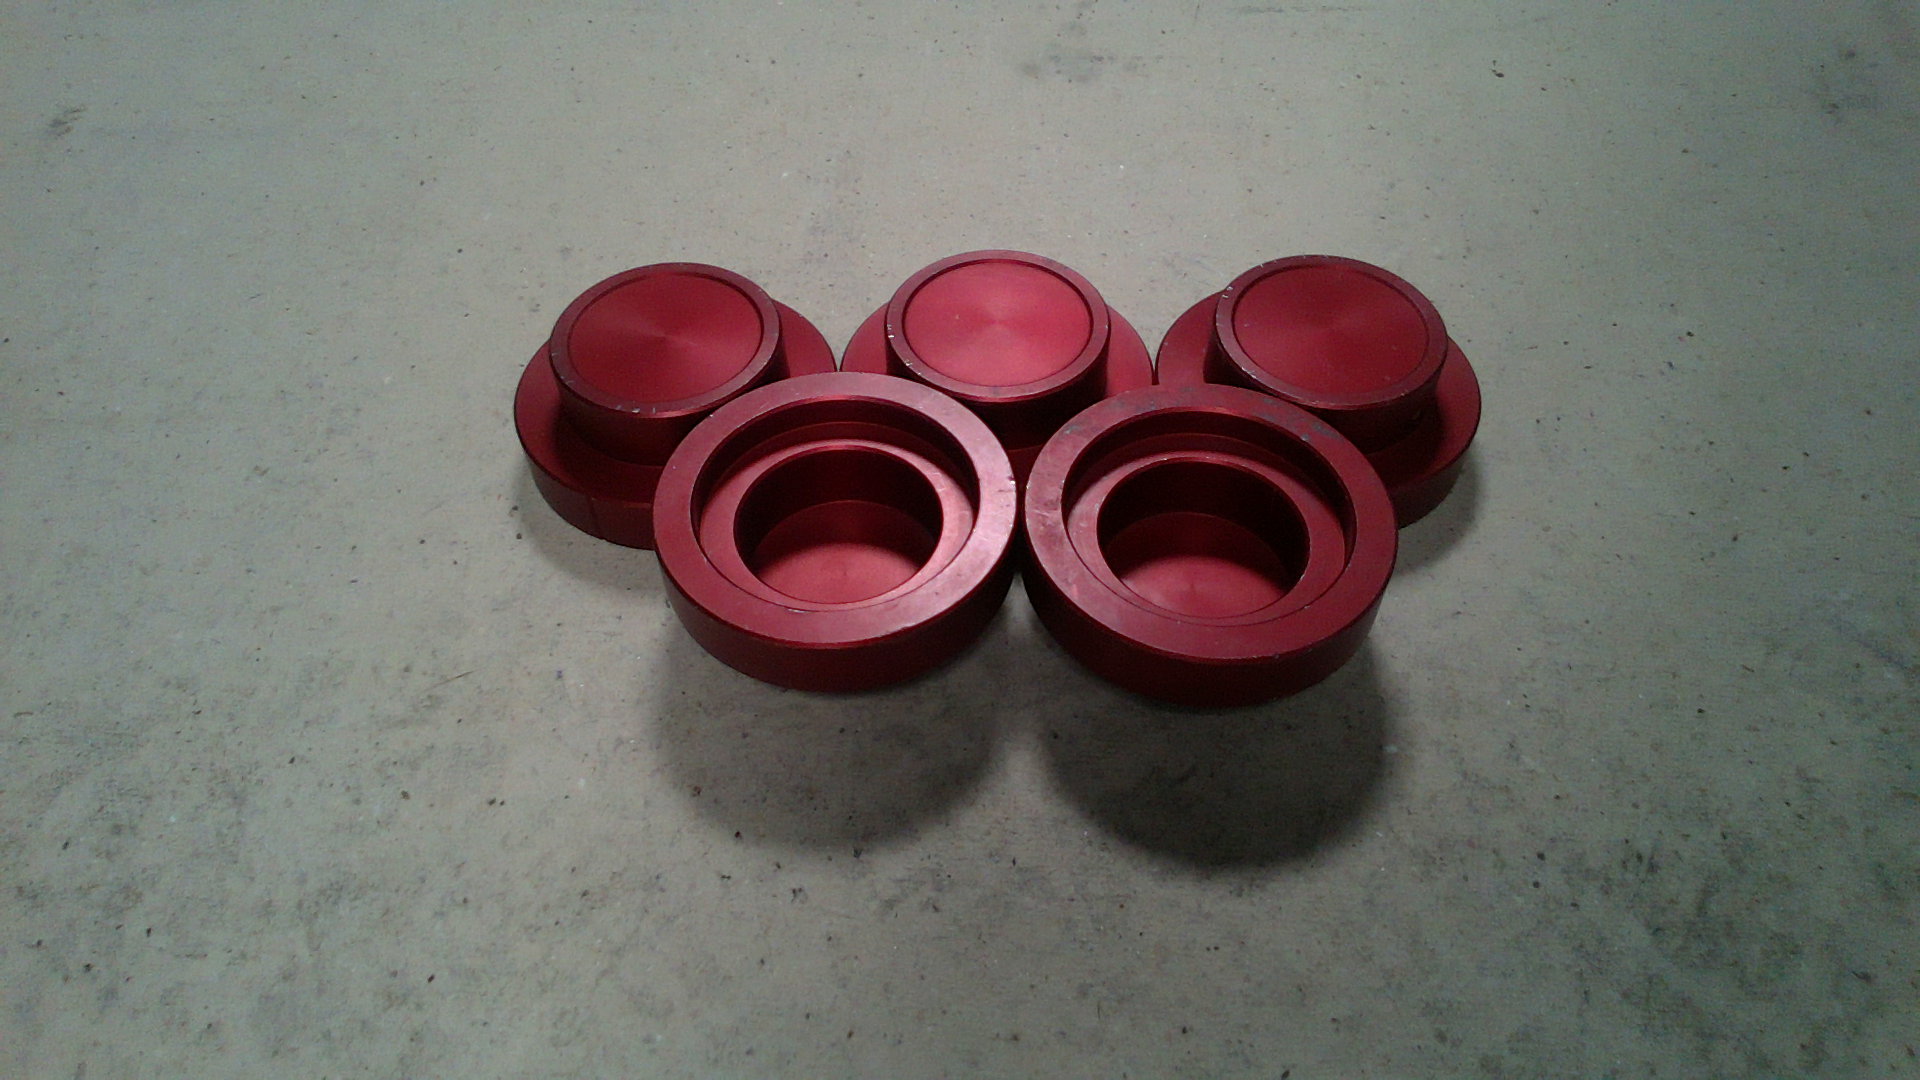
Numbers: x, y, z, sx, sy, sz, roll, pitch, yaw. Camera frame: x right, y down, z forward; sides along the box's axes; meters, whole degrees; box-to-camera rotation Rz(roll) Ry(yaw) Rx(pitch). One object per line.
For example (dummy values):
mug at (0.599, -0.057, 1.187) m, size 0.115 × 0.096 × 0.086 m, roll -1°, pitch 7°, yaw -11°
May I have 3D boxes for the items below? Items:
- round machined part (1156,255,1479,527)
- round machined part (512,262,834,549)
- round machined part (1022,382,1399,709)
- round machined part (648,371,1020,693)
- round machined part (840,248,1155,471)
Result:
round machined part at (0.110, -0.050, 0.423) m, size 0.098 × 0.042 × 0.098 m, roll 0°, pitch 50°, yaw 0°
round machined part at (-0.087, -0.048, 0.421) m, size 0.098 × 0.042 × 0.098 m, roll 0°, pitch 50°, yaw 0°
round machined part at (0.066, 0.005, 0.376) m, size 0.098 × 0.042 × 0.098 m, roll 0°, pitch 50°, yaw 0°
round machined part at (-0.033, 0.002, 0.379) m, size 0.098 × 0.042 × 0.098 m, roll 0°, pitch 50°, yaw 0°
round machined part at (0.011, -0.053, 0.425) m, size 0.098 × 0.042 × 0.098 m, roll 0°, pitch 50°, yaw 0°
